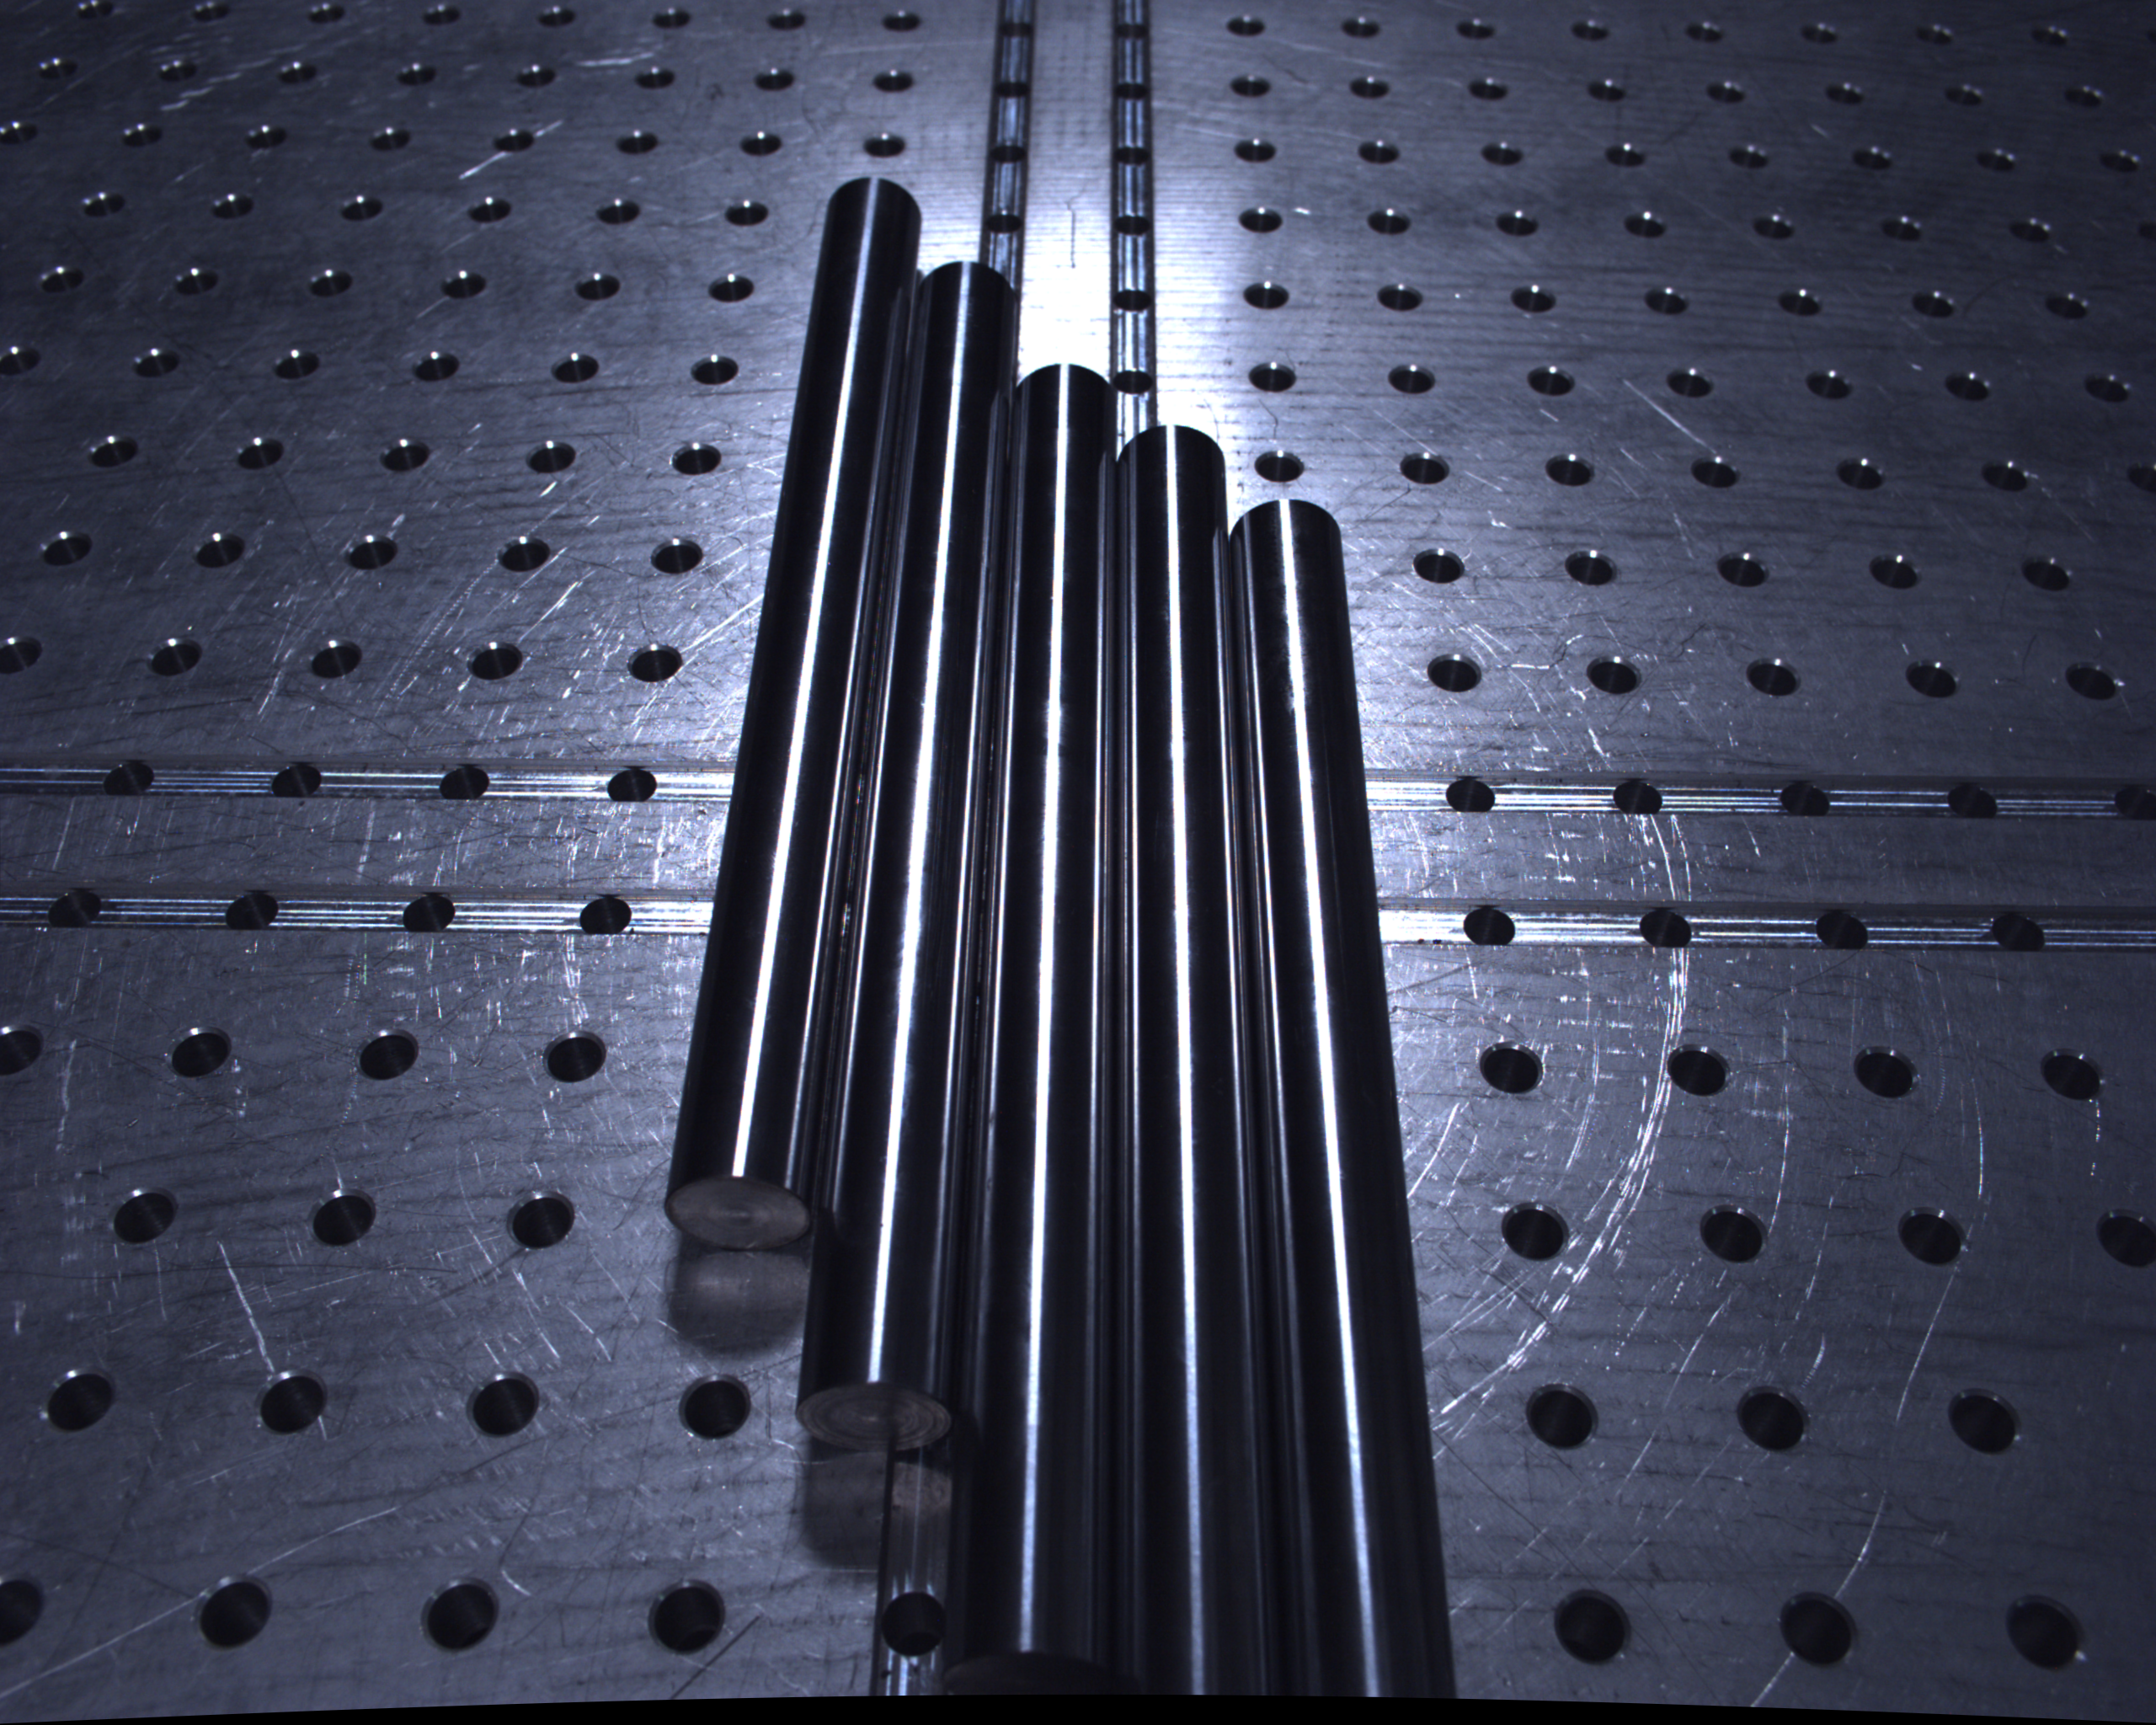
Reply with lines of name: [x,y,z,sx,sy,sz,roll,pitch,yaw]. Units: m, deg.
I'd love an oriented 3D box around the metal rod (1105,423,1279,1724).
metal rod: [0.019,0.022,0.388,0.025,0.025,0.300,1,50,0]

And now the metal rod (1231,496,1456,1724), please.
metal rod: [0.044,0.042,0.372,0.025,0.025,0.300,1,50,0]

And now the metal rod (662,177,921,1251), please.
metal rod: [-0.056,-0.055,0.452,0.025,0.025,0.300,1,50,0]

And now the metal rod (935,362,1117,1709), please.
metal rod: [-0.006,0.005,0.402,0.025,0.025,0.300,1,50,0]

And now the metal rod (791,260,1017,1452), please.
metal rod: [-0.031,-0.026,0.428,0.025,0.025,0.300,1,50,0]
